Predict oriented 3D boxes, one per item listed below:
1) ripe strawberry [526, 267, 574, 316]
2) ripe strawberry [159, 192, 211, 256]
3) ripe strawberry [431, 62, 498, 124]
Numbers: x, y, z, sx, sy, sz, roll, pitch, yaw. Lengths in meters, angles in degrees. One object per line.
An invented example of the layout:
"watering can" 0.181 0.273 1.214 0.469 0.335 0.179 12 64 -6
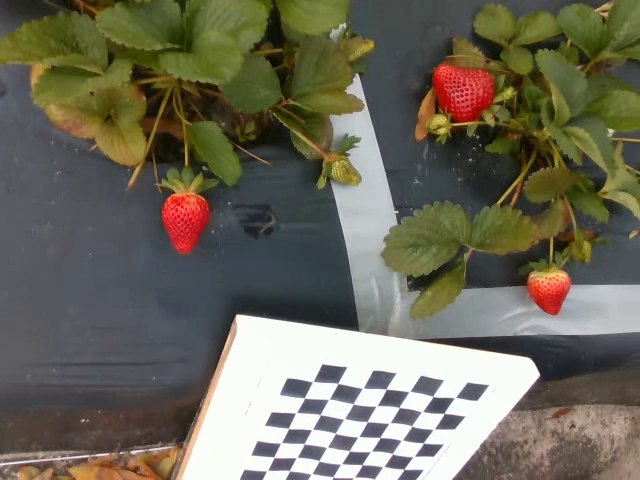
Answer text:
"ripe strawberry" 0.192 0.040 0.504 0.039 0.047 0.041 -10 32 13
"ripe strawberry" -0.088 -0.013 0.387 0.036 0.046 0.040 6 -8 1
"ripe strawberry" 0.107 -0.117 0.440 0.062 0.043 0.043 33 -56 -20
